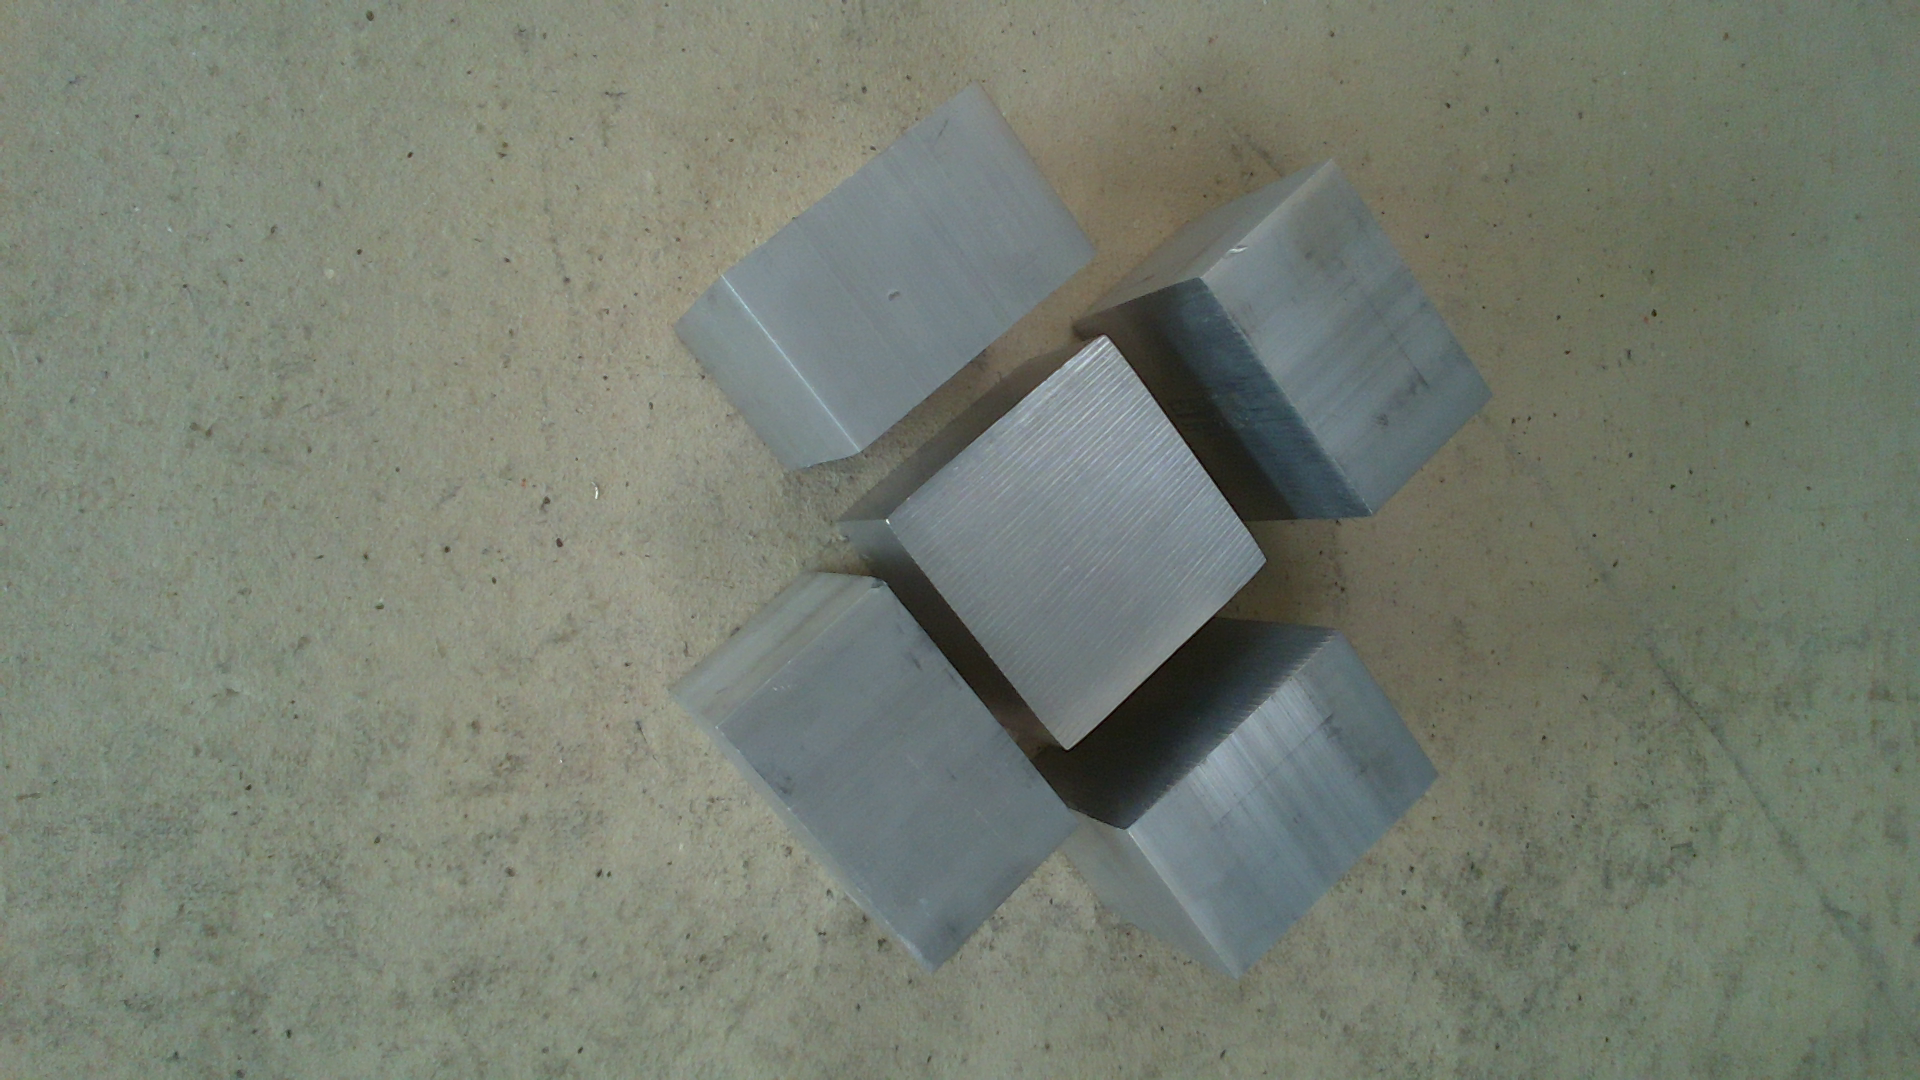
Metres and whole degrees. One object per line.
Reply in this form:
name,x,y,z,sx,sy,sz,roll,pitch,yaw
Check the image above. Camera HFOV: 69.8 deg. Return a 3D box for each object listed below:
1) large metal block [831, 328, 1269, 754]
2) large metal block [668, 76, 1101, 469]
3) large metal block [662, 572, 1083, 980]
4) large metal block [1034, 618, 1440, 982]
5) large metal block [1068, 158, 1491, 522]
large metal block,0.025,0.000,0.387,0.080,0.050,0.080,-41,103,-15
large metal block,-0.023,-0.065,0.357,0.080,0.080,0.050,-41,103,-15
large metal block,-0.026,0.056,0.355,0.050,0.080,0.080,-42,103,-15
large metal block,0.071,0.068,0.390,0.080,0.080,0.050,-39,102,-16
large metal block,0.089,-0.052,0.397,0.050,0.080,0.080,-43,103,-15
